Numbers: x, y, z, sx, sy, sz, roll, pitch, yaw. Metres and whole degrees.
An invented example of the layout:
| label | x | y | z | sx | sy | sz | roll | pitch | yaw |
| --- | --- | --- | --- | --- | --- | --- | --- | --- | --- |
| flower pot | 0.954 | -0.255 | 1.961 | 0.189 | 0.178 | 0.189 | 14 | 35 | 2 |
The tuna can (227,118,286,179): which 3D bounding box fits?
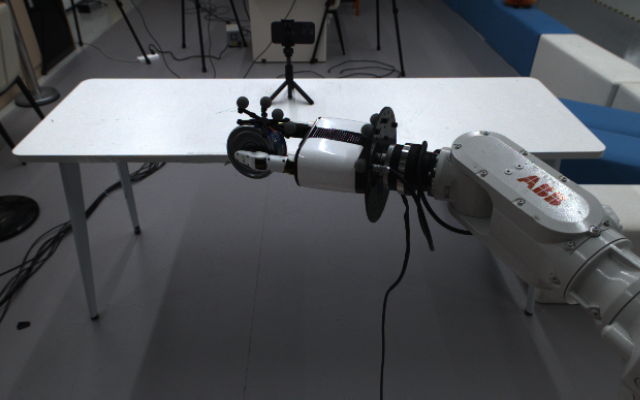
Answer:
| label | x | y | z | sx | sy | sz | roll | pitch | yaw |
| --- | --- | --- | --- | --- | --- | --- | --- | --- | --- |
| tuna can | -0.092 | -0.069 | 0.715 | 0.085 | 0.085 | 0.034 | 15 | 30 | 18 |
